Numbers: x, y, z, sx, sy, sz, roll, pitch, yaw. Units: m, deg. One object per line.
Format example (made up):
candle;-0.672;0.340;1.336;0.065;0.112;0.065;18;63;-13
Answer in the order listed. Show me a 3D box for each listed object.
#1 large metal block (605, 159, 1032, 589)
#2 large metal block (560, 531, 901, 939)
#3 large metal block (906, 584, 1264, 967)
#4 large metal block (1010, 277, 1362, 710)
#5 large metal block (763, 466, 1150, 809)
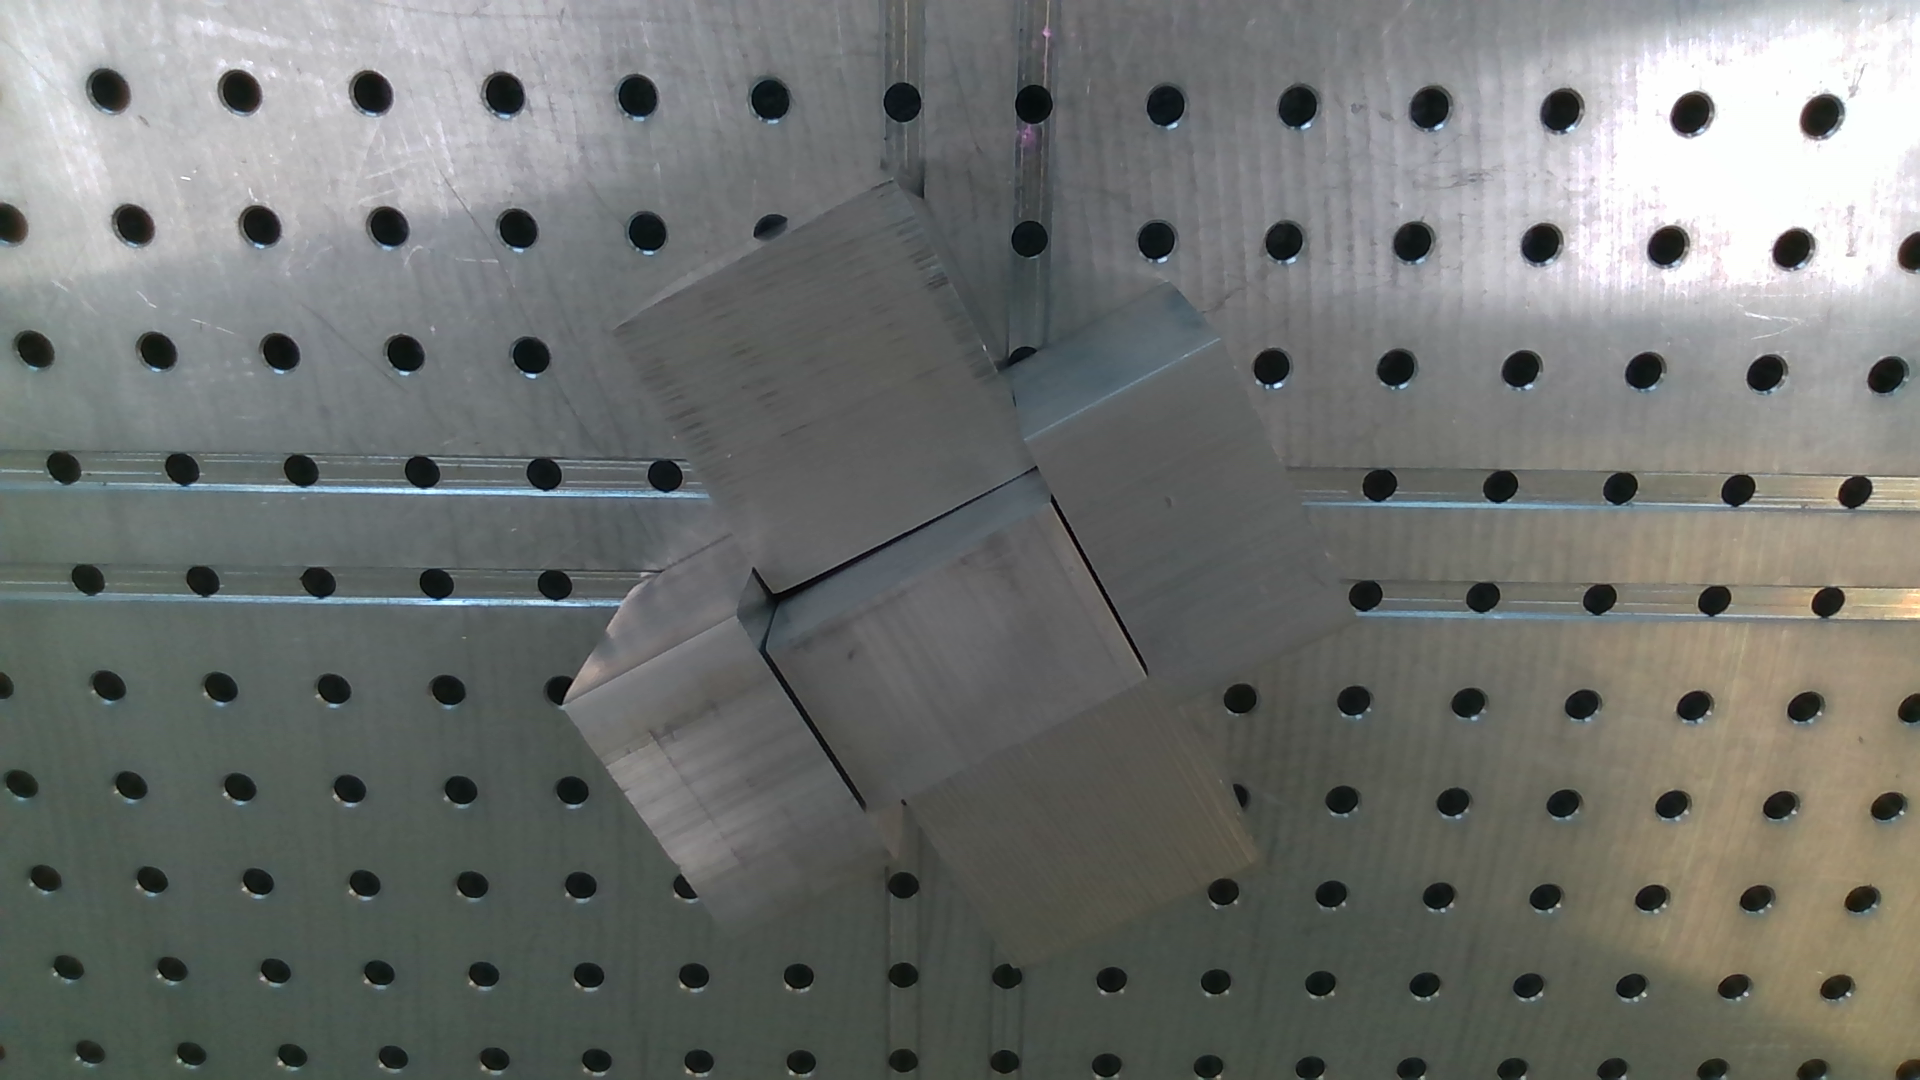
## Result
large metal block;-0.033;-0.046;0.367;0.080;0.050;0.080;-25;108;8
large metal block;-0.057;0.047;0.383;0.050;0.080;0.080;-27;108;9
large metal block;0.032;0.065;0.405;0.080;0.050;0.080;-27;108;11
large metal block;0.055;-0.016;0.360;0.050;0.080;0.080;-27;108;9
large metal block;-0.001;0.016;0.372;0.080;0.080;0.050;-27;108;9
